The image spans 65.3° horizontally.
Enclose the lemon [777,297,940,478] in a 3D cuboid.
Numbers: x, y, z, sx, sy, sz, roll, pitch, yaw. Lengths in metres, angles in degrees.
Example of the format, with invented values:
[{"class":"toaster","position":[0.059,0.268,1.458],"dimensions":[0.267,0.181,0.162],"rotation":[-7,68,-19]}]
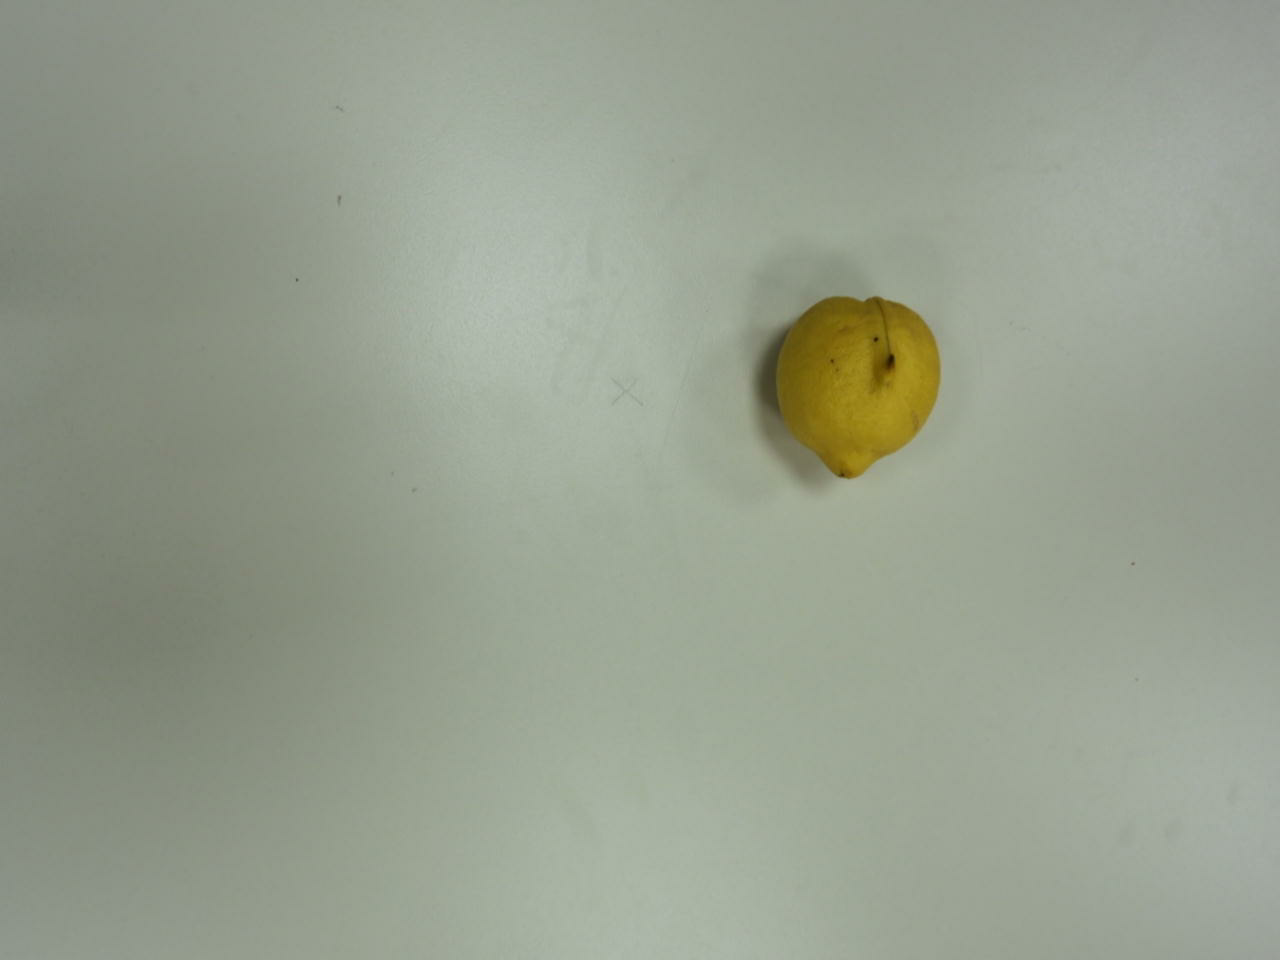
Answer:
[{"class":"lemon","position":[0.092,-0.044,0.422],"dimensions":[0.071,0.071,0.070],"rotation":[-44,99,-8]}]
